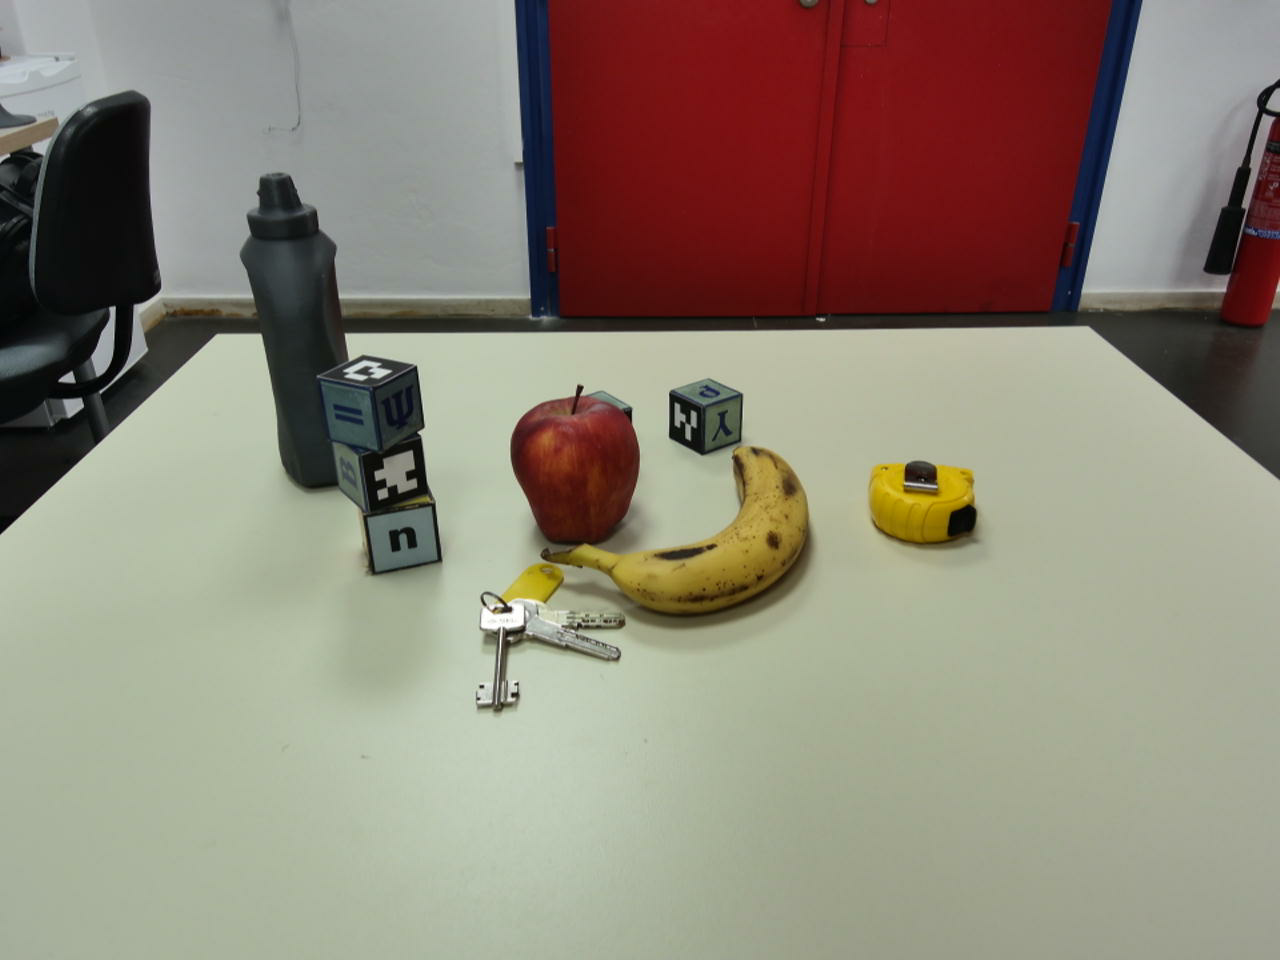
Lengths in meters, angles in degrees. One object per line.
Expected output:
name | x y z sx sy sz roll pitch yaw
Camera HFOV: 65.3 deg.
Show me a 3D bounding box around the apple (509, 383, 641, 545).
apple | -0.039 -0.012 0.583 0.083 0.090 0.083 -1 26 1
